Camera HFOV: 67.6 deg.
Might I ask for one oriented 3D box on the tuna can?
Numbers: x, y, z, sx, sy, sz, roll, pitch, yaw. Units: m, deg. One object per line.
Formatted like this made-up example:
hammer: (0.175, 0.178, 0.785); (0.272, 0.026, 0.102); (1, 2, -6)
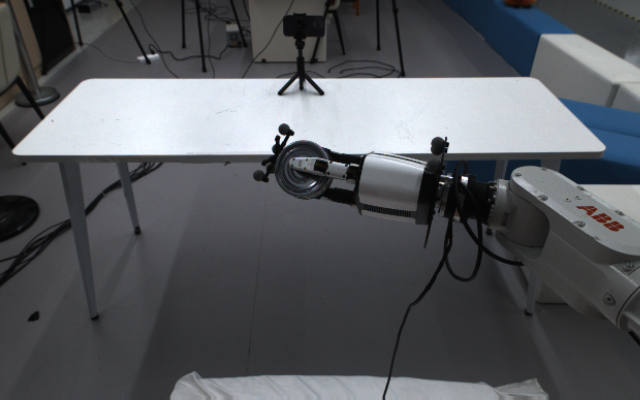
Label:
tuna can: (-0.021, -0.042, 0.717); (0.085, 0.085, 0.034); (9, -4, 10)
